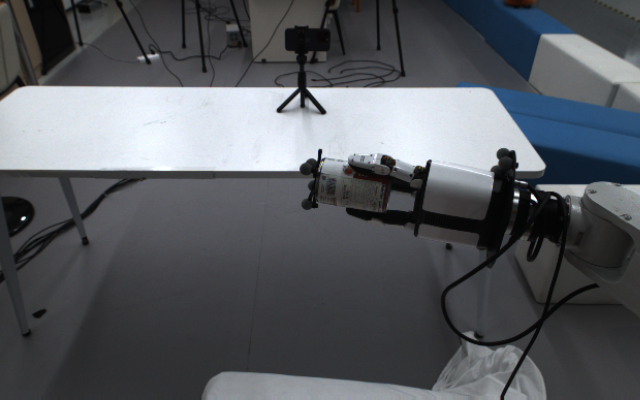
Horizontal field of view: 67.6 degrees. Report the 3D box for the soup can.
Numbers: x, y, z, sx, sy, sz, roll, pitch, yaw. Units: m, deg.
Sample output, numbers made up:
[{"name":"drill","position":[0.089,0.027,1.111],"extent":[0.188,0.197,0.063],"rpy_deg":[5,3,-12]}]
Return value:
[{"name":"soup can","position":[0.051,-0.021,0.689],"extent":[0.101,0.067,0.067],"rpy_deg":[9,35,9]}]
